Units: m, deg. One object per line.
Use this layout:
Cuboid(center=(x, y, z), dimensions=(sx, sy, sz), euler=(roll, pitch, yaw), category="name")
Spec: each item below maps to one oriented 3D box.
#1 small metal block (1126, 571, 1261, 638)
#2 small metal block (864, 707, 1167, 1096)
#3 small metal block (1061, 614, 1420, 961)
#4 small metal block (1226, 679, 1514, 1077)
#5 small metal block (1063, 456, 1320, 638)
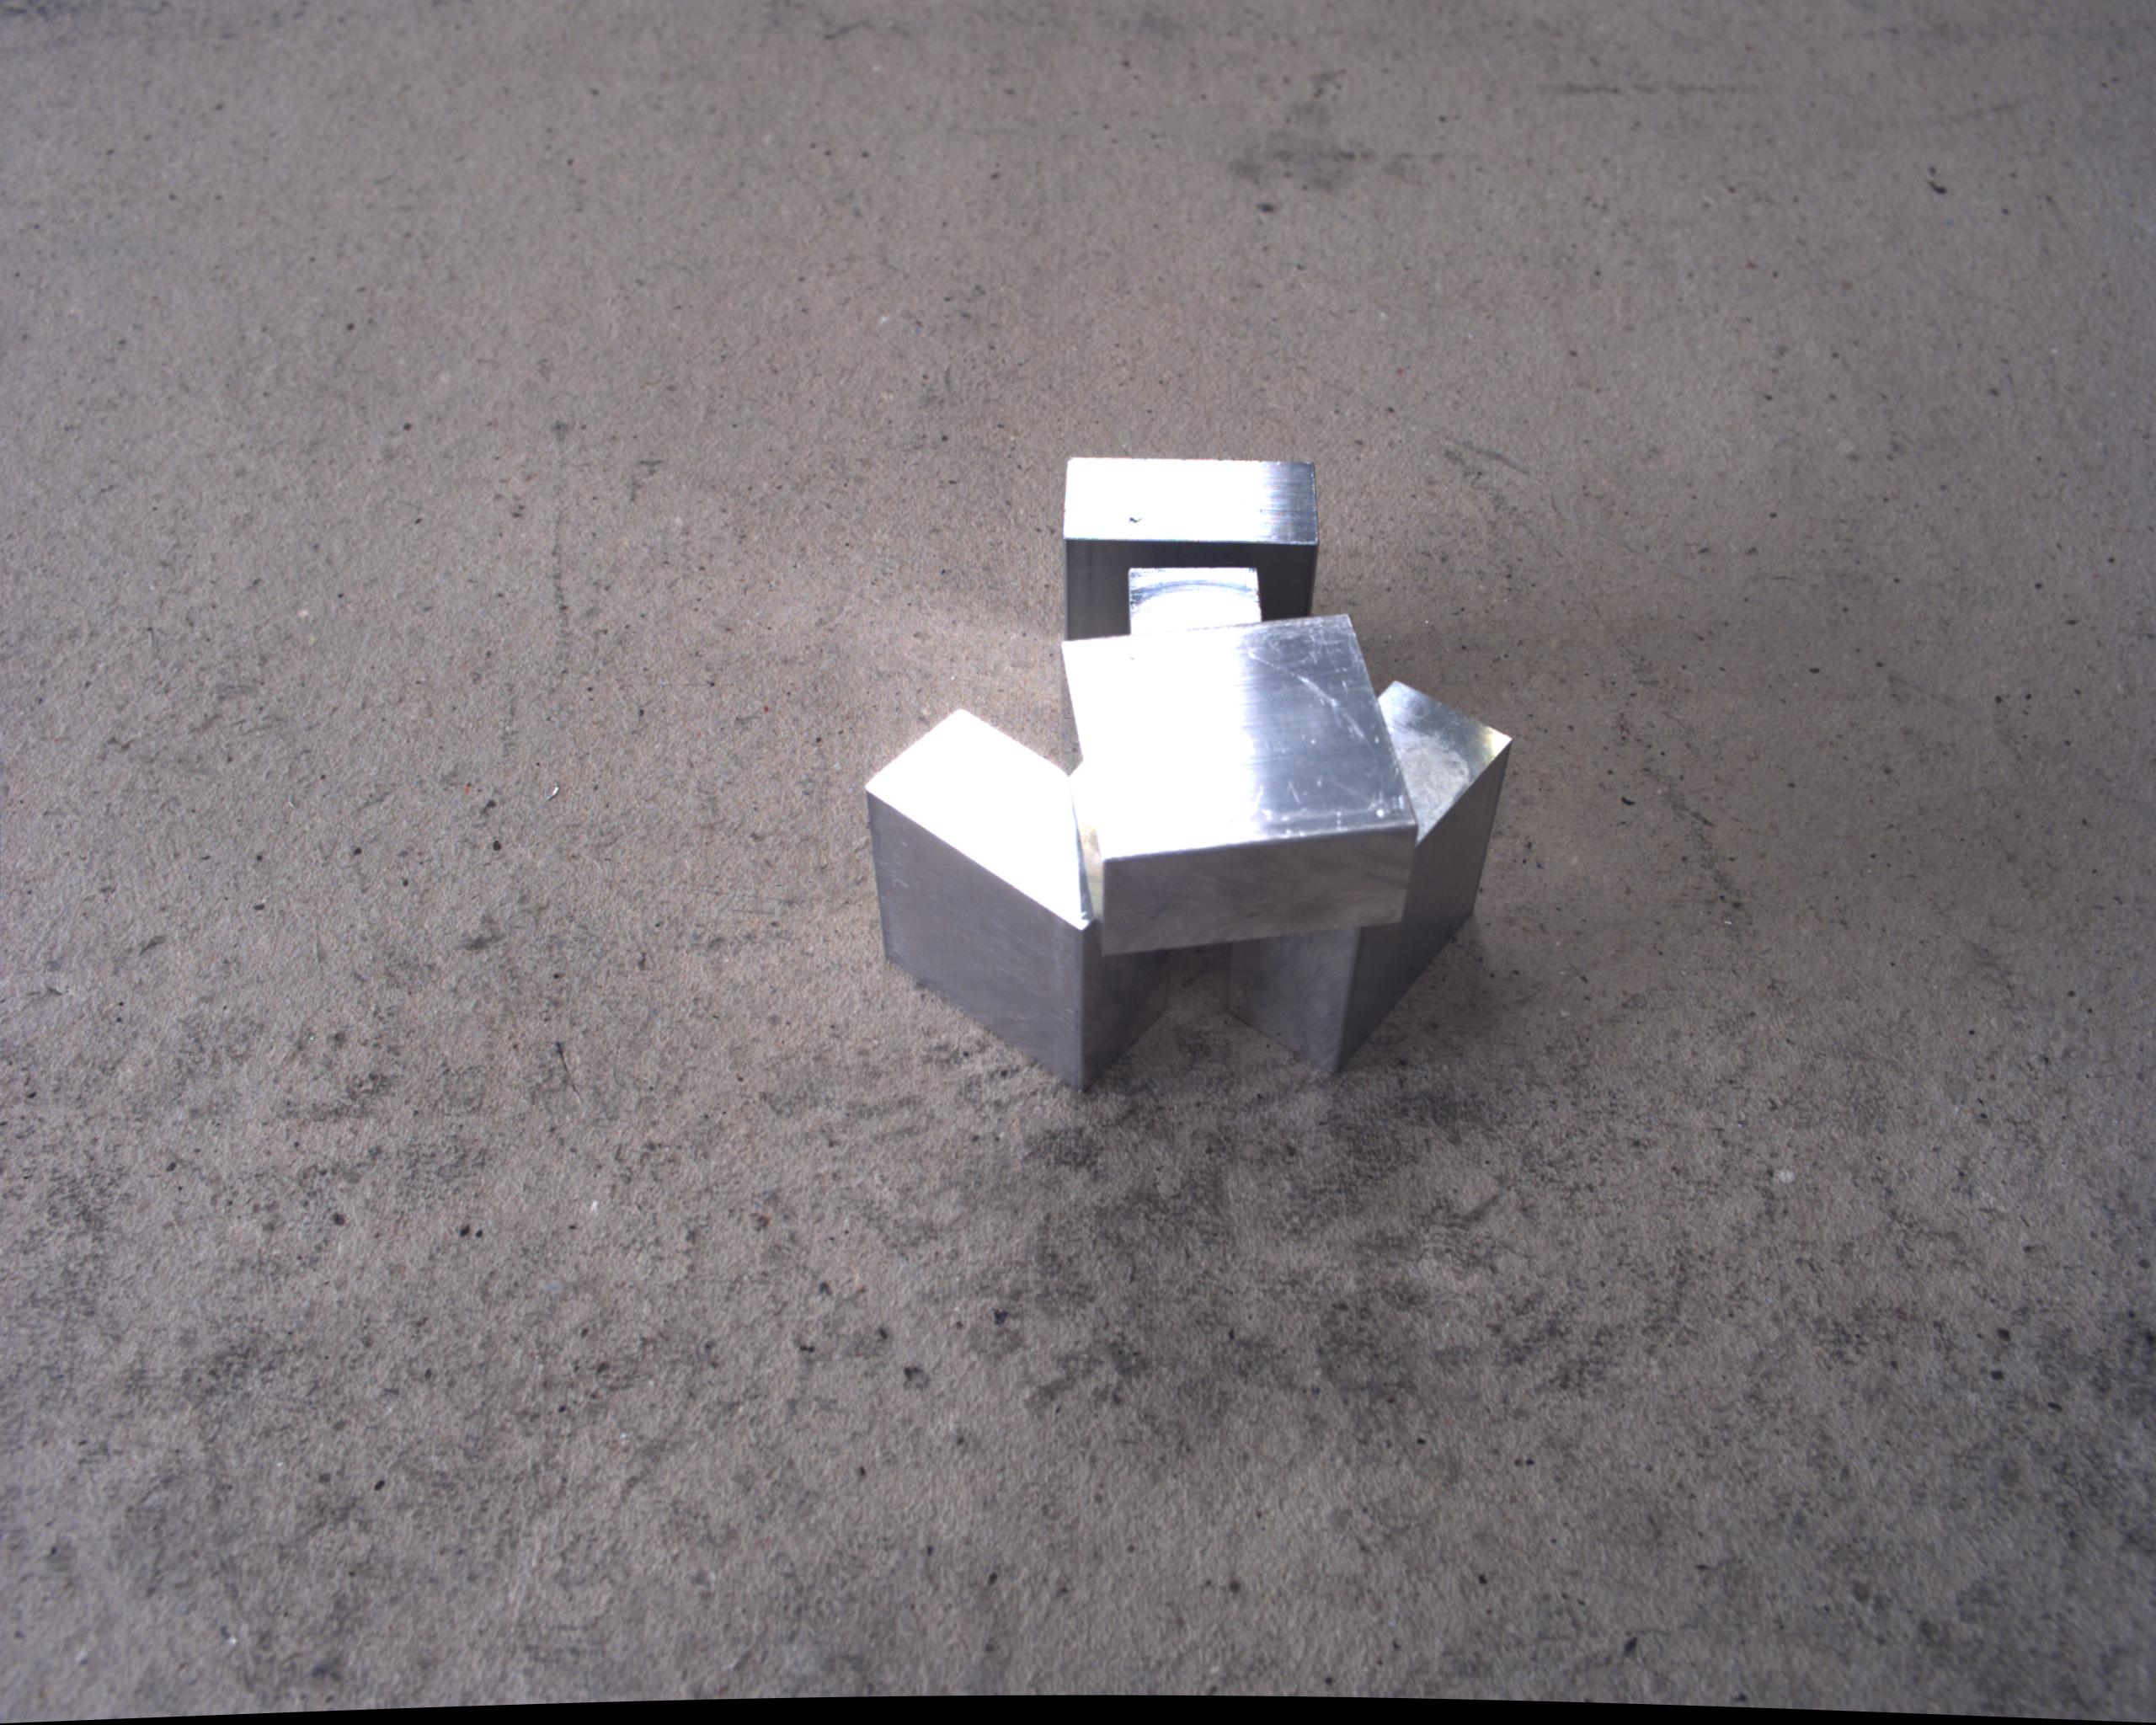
Cuboid(center=(0.022, -0.022, 0.408), dimensions=(0.025, 0.050, 0.050), euler=(0, 50, -1), category="small metal block")
Cuboid(center=(-0.011, 0.007, 0.381), dimensions=(0.050, 0.050, 0.025), euler=(33, 57, 23), category="small metal block")
Cuboid(center=(0.026, -0.013, 0.352), dimensions=(0.050, 0.025, 0.050), euler=(-6, 50, -5), category="small metal block")
Cuboid(center=(0.053, 0.003, 0.387), dimensions=(0.025, 0.050, 0.050), euler=(30, 57, 23), category="small metal block")
Cuboid(center=(0.023, -0.057, 0.436), dimensions=(0.050, 0.050, 0.025), euler=(1, 50, 1), category="small metal block")
